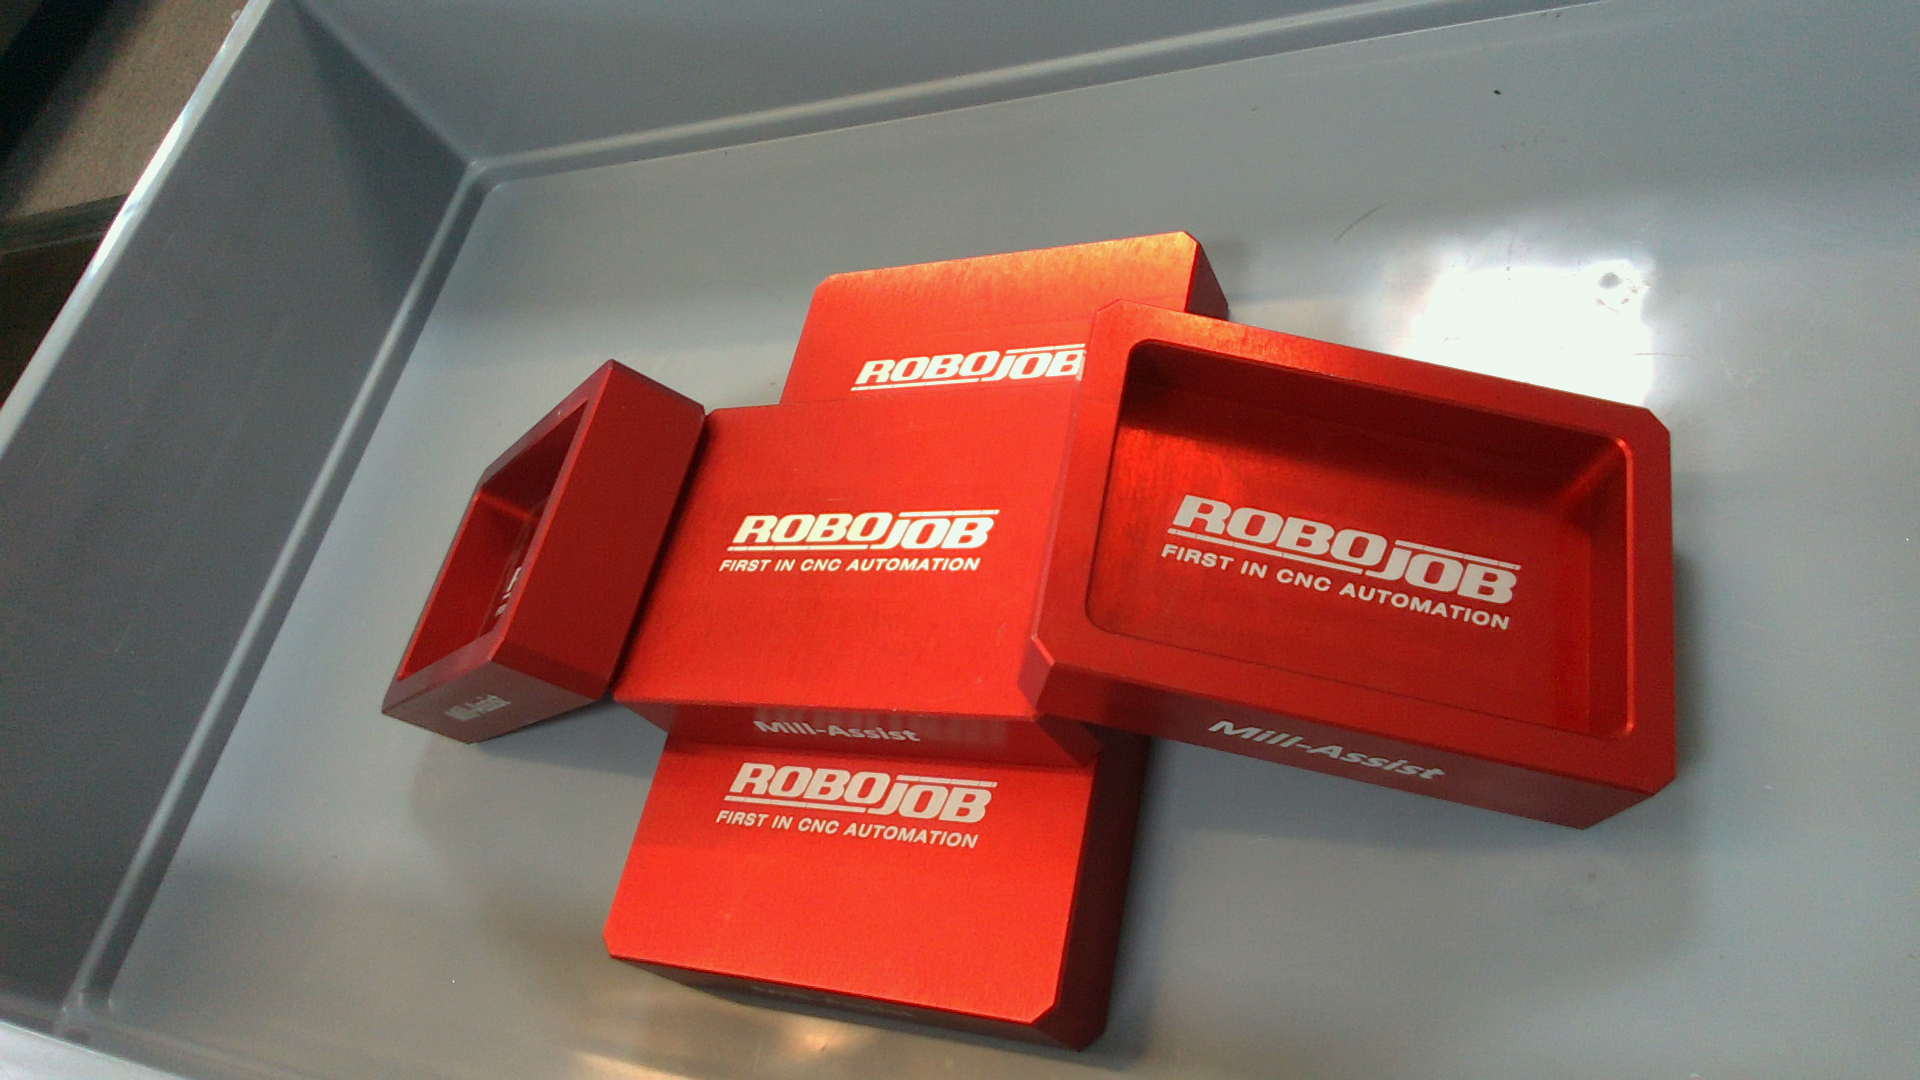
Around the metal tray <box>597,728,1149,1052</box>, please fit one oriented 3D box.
[{"bbox_3d":[-0.022,0.073,0.354,0.130,0.030,0.090,0,61,28],"label":"metal tray"}]

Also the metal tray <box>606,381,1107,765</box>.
[{"bbox_3d":[-0.021,0.007,0.357,0.130,0.030,0.090,-1,61,28],"label":"metal tray"}]

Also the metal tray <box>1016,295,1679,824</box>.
[{"bbox_3d":[0.084,0.003,0.301,0.130,0.030,0.090,12,65,1],"label":"metal tray"}]

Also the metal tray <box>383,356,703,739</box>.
[{"bbox_3d":[-0.129,0.008,0.414,0.129,0.030,0.090,-21,48,53],"label":"metal tray"}]

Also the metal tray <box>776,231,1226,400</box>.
[{"bbox_3d":[0.007,-0.041,0.409,0.130,0.030,0.090,0,61,28],"label":"metal tray"}]
